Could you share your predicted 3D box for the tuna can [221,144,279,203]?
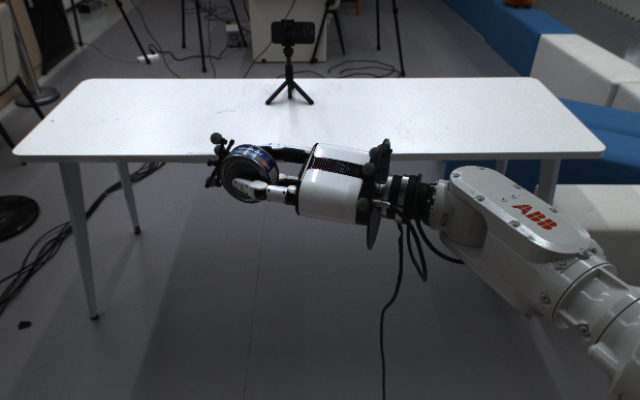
[{"bbox_3d":[-0.106,-0.040,0.723,0.085,0.085,0.034,11,36,13],"label":"tuna can"}]
